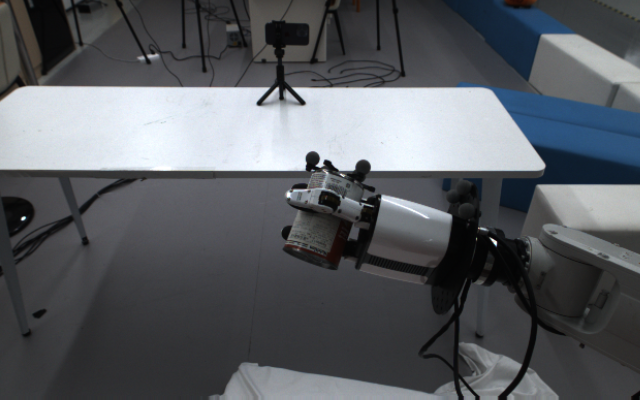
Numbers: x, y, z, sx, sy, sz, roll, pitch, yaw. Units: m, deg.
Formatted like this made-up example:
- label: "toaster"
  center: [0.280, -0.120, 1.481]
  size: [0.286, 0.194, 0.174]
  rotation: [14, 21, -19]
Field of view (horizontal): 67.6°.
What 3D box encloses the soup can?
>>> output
- label: "soup can"
  center: [0.007, 0.023, 0.570]
  size: [0.067, 0.067, 0.101]
  rotation: [15, 75, 18]
